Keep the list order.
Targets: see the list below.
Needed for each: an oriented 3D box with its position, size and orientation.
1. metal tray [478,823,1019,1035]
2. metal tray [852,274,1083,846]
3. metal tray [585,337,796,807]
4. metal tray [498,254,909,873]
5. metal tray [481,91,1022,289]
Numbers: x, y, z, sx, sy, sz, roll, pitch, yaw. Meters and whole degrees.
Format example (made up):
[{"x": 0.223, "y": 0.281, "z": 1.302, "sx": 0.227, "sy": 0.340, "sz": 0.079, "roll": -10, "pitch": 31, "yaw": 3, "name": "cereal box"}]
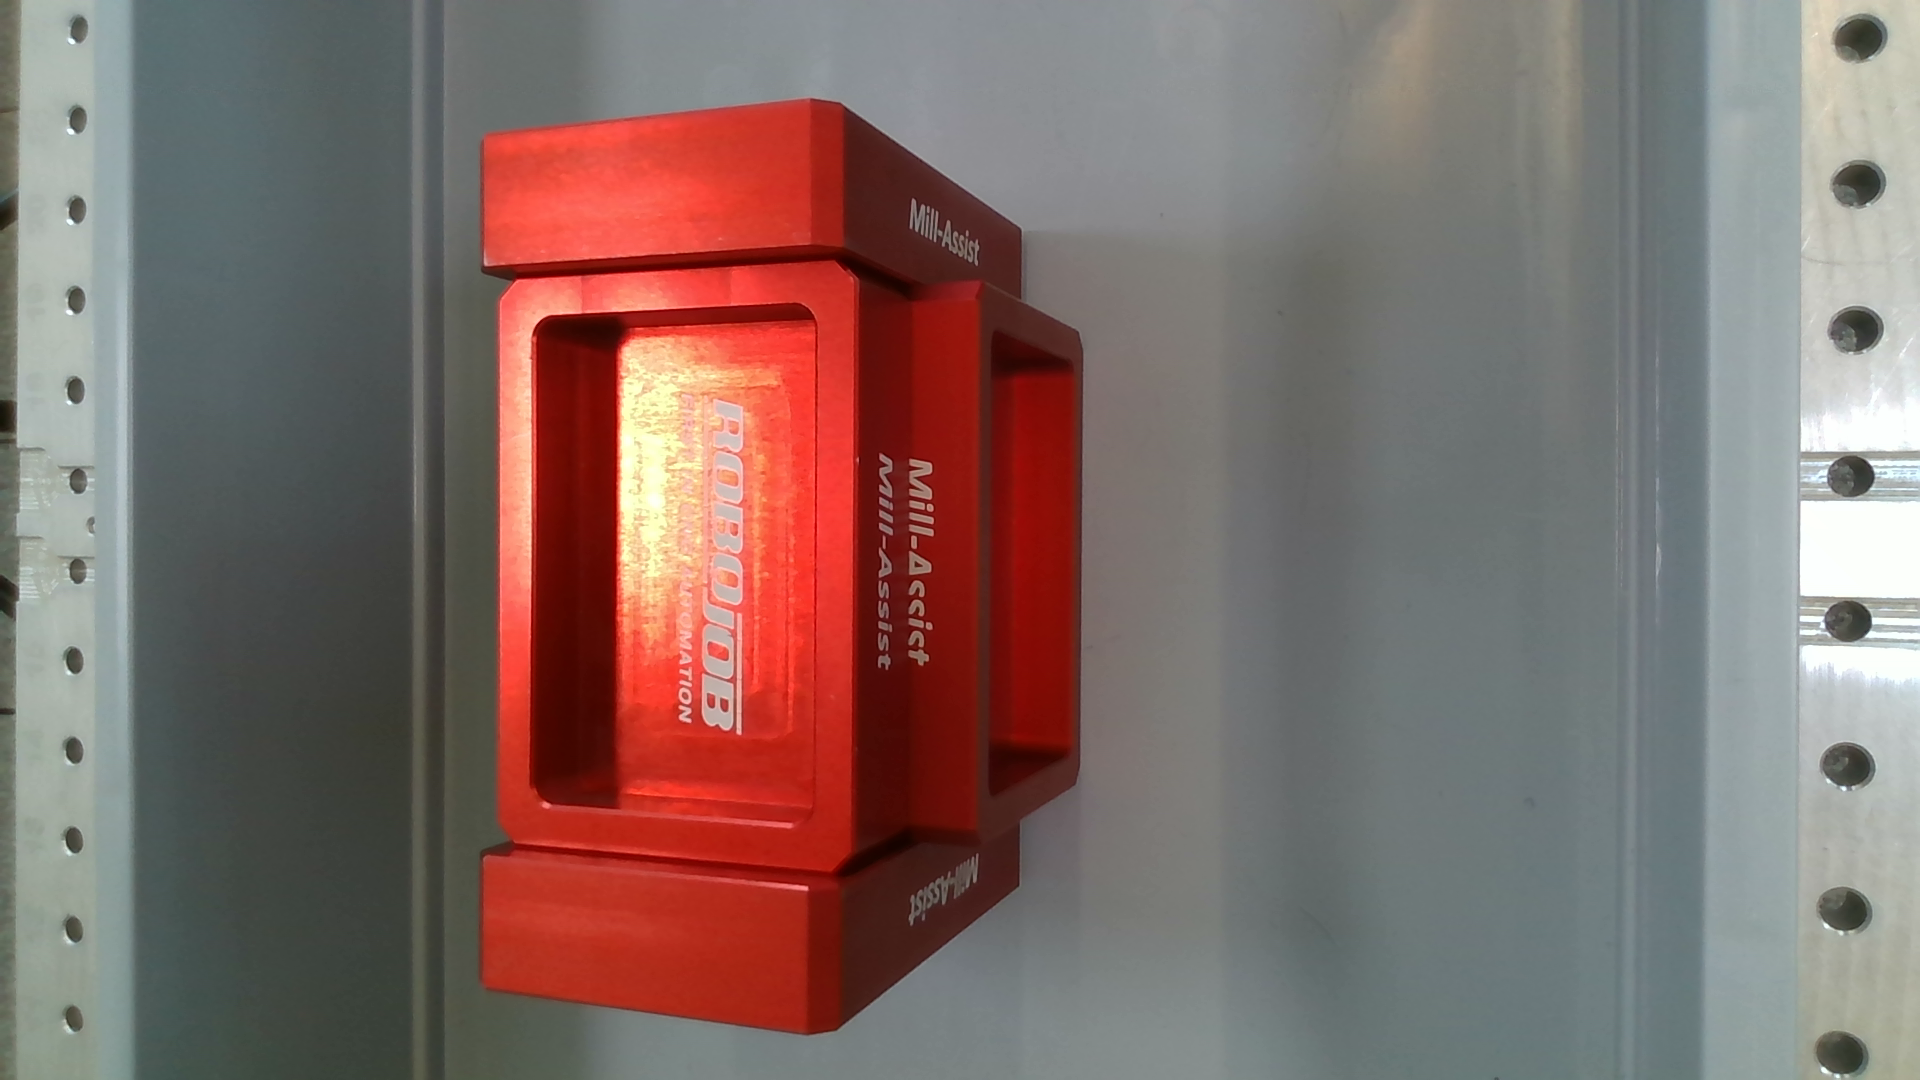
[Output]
[{"x": -0.047, "y": 0.085, "z": 0.354, "sx": 0.090, "sy": 0.130, "sz": 0.030, "roll": 1, "pitch": 90, "yaw": 21, "name": "metal tray"}, {"x": 0.005, "y": 0.005, "z": 0.355, "sx": 0.030, "sy": 0.090, "sz": 0.130, "roll": 0, "pitch": 90, "yaw": 21, "name": "metal tray"}, {"x": -0.079, "y": 0.004, "z": 0.386, "sx": 0.030, "sy": 0.090, "sz": 0.130, "roll": 0, "pitch": 90, "yaw": 20, "name": "metal tray"}, {"x": -0.059, "y": 0.005, "z": 0.316, "sx": 0.090, "sy": 0.030, "sz": 0.130, "roll": 1, "pitch": 91, "yaw": 20, "name": "metal tray"}, {"x": -0.046, "y": -0.076, "z": 0.353, "sx": 0.090, "sy": 0.130, "sz": 0.030, "roll": 0, "pitch": 90, "yaw": 21, "name": "metal tray"}]
